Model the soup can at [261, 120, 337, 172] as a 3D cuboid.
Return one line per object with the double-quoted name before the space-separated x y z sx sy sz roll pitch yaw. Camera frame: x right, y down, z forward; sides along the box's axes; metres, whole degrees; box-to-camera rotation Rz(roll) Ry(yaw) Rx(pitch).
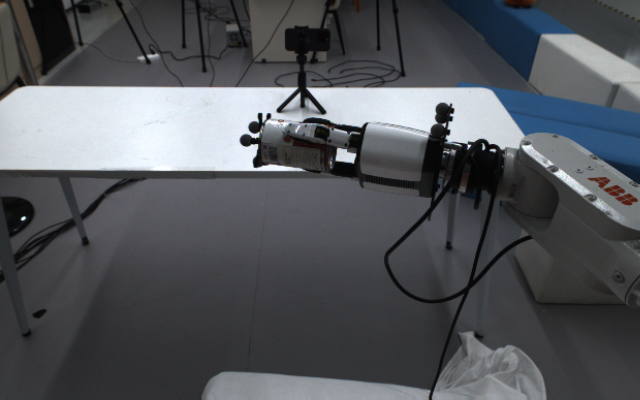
"soup can" -0.029 -0.079 0.697 0.101 0.067 0.067 8 35 10
